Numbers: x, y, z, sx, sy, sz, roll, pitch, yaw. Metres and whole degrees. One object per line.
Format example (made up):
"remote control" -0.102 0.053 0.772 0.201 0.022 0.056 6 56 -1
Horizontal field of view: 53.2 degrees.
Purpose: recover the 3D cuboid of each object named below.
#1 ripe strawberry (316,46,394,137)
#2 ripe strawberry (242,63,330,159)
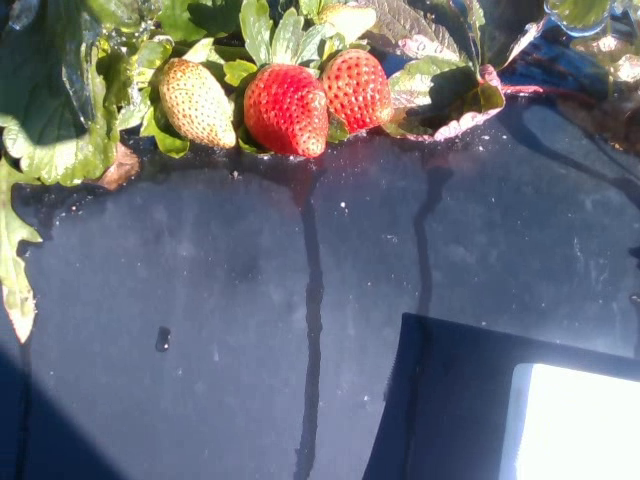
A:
"ripe strawberry" 0.018 -0.064 0.274 0.041 0.036 0.030 36 -12 11
"ripe strawberry" -0.008 -0.045 0.250 0.036 0.040 0.052 -26 42 -9
